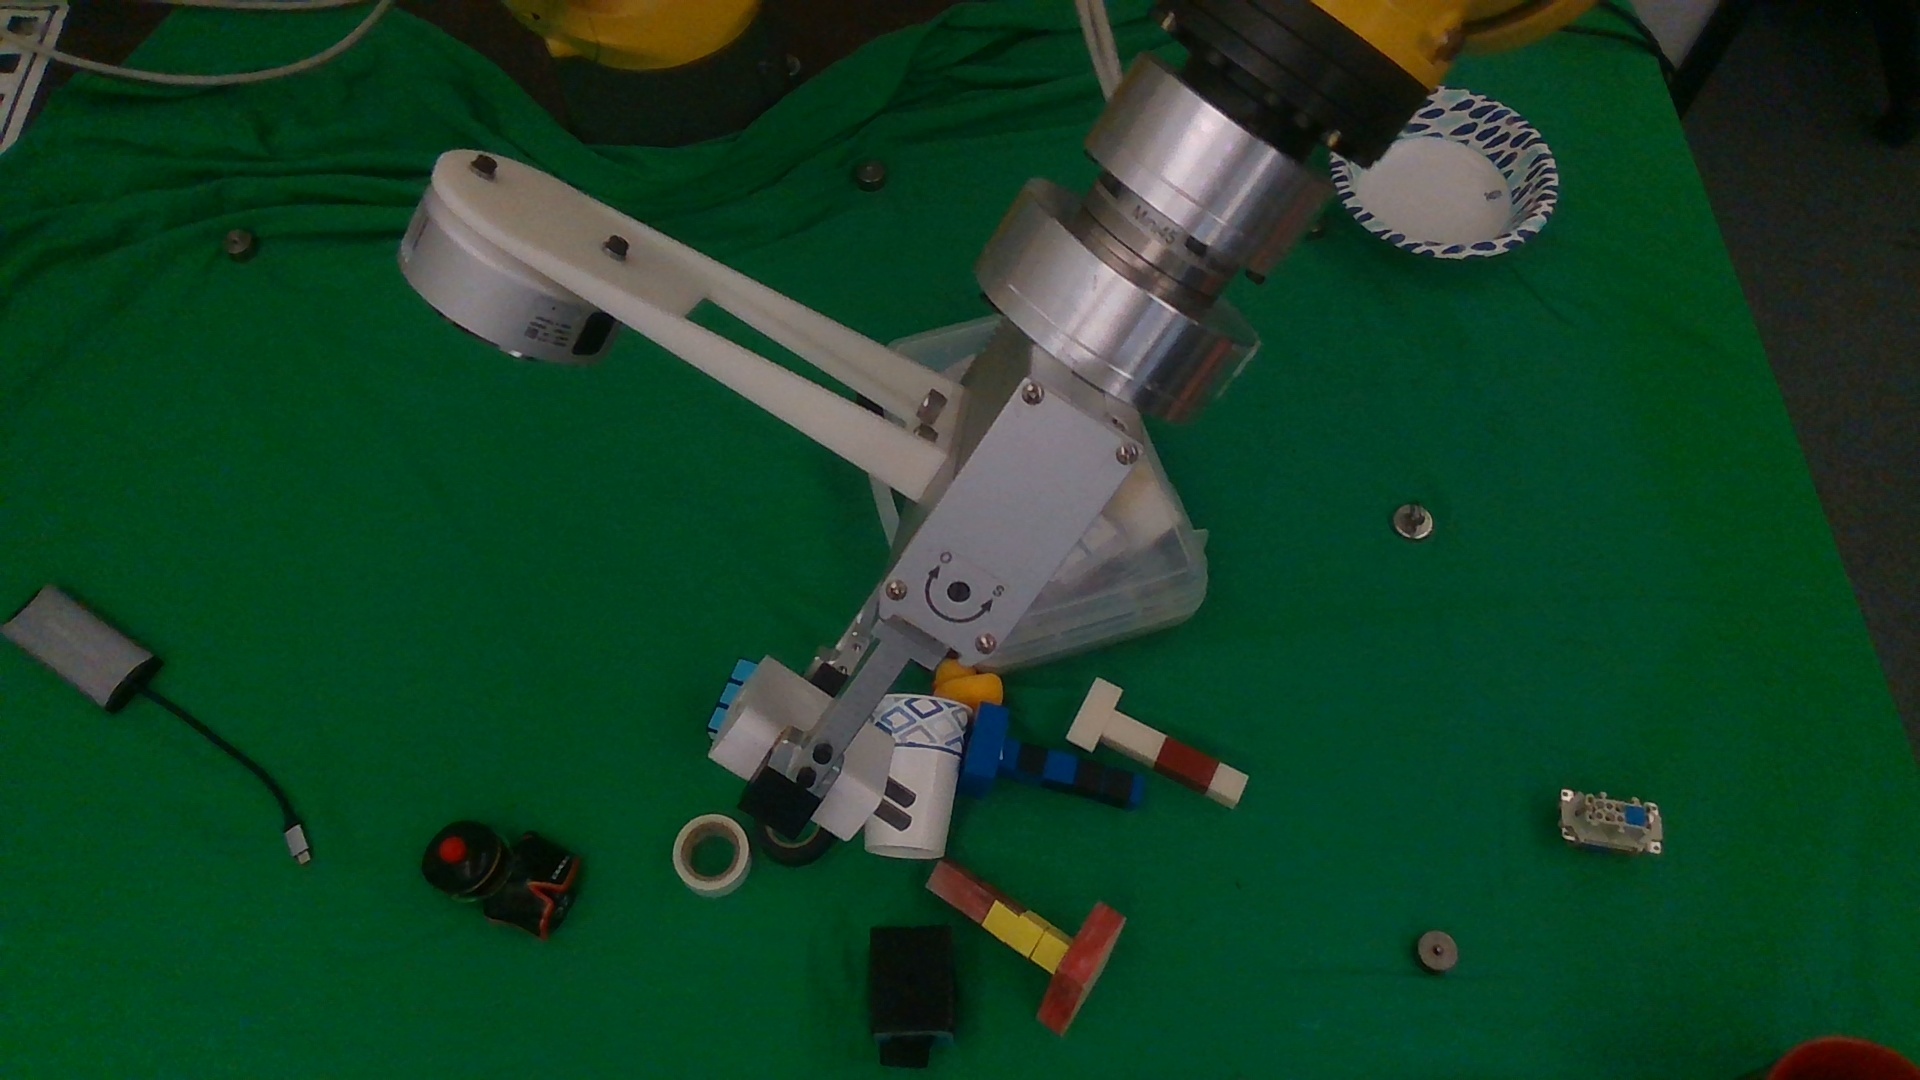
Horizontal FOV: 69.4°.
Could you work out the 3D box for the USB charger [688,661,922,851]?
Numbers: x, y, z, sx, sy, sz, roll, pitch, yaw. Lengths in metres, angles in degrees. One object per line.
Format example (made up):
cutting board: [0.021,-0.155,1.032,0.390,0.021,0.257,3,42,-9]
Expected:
USB charger: [-0.048,0.075,0.459,0.075,0.029,0.044,34,31,-2]

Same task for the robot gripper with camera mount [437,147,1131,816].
robot gripper with camera mount: [-0.076,-0.023,0.411,0.193,0.159,0.119,35,23,-11]
